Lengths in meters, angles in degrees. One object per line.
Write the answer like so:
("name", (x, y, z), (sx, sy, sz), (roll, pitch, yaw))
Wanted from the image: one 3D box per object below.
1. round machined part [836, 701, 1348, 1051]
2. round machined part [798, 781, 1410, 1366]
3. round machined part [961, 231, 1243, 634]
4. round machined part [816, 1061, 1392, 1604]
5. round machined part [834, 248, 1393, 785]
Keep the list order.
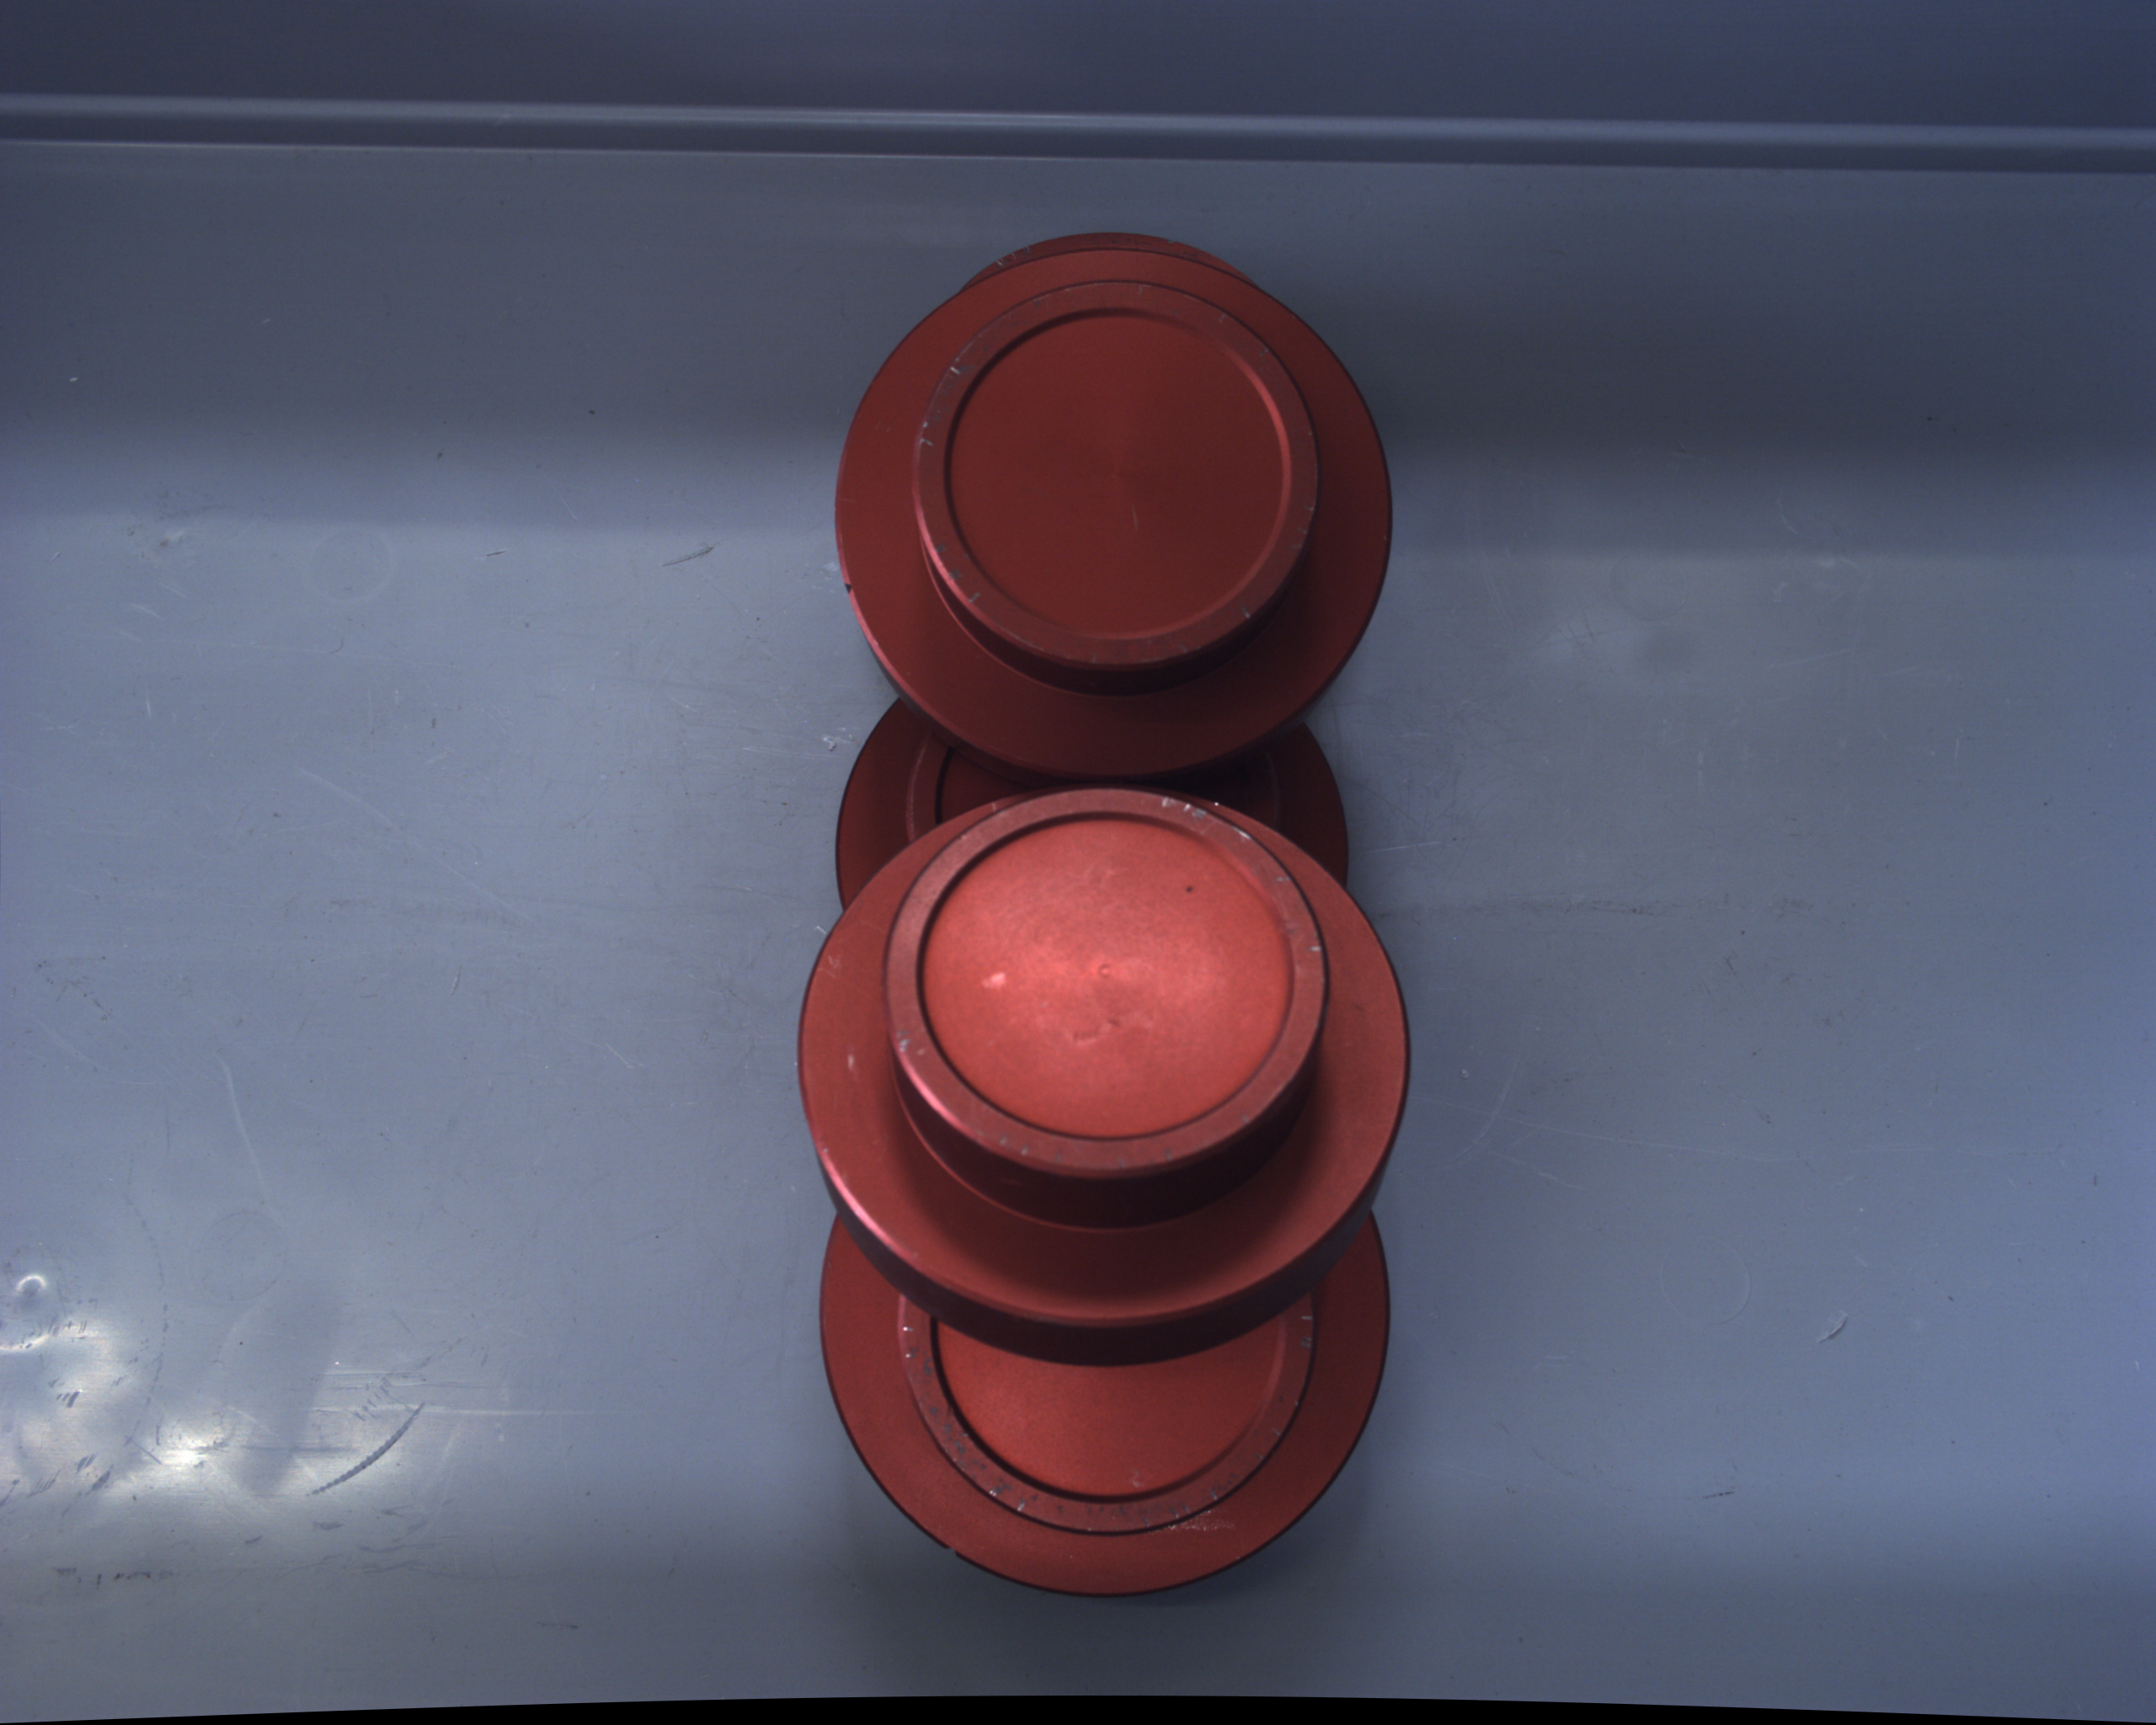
("round machined part", (0.003, -0.004, 0.401), (0.099, 0.042, 0.098), (0, 69, 0))
("round machined part", (0.004, 0.027, 0.335), (0.099, 0.042, 0.098), (0, 59, 0))
("round machined part", (0.006, -0.089, 0.420), (0.099, 0.042, 0.098), (0, 54, 0))
("round machined part", (0.004, 0.077, 0.356), (0.099, 0.042, 0.097), (0, 85, 0))
("round machined part", (0.006, -0.062, 0.367), (0.099, 0.042, 0.097), (0, 82, 0))
